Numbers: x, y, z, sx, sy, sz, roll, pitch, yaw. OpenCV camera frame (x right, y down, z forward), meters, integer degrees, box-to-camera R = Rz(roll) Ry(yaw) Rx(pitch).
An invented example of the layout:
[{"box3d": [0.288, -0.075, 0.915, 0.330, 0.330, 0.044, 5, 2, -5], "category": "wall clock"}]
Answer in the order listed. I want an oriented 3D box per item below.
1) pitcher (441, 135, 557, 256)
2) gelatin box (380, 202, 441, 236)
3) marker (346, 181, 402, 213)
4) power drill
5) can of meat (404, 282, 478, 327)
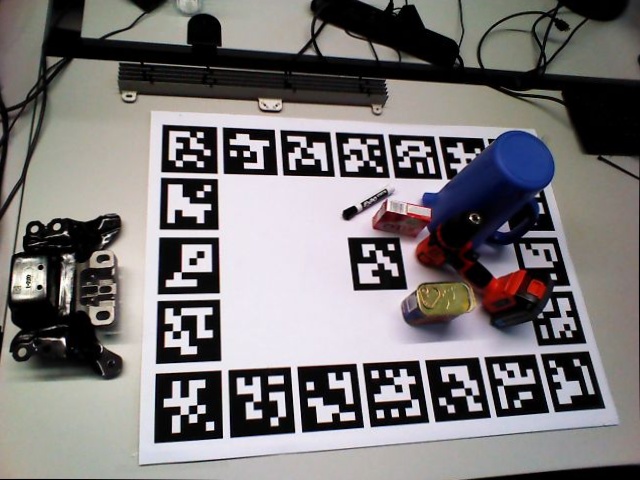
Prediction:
[{"box3d": [0.320, -0.068, 0.901, 0.189, 0.243, 0.132, 29, 69, 7], "category": "pitcher"}, {"box3d": [0.163, -0.037, 0.940, 0.089, 0.073, 0.030, 11, 71, -10], "category": "gelatin box"}, {"box3d": [0.101, -0.080, 0.970, 0.120, 0.020, 0.019, -26, 77, -19], "category": "marker"}, {"box3d": [0.275, 0.036, 0.876, 0.187, 0.185, 0.057, 35, 68, -4], "category": "power drill"}, {"box3d": [0.203, 0.112, 0.881, 0.102, 0.084, 0.057, 0, 67, -13], "category": "can of meat"}]
